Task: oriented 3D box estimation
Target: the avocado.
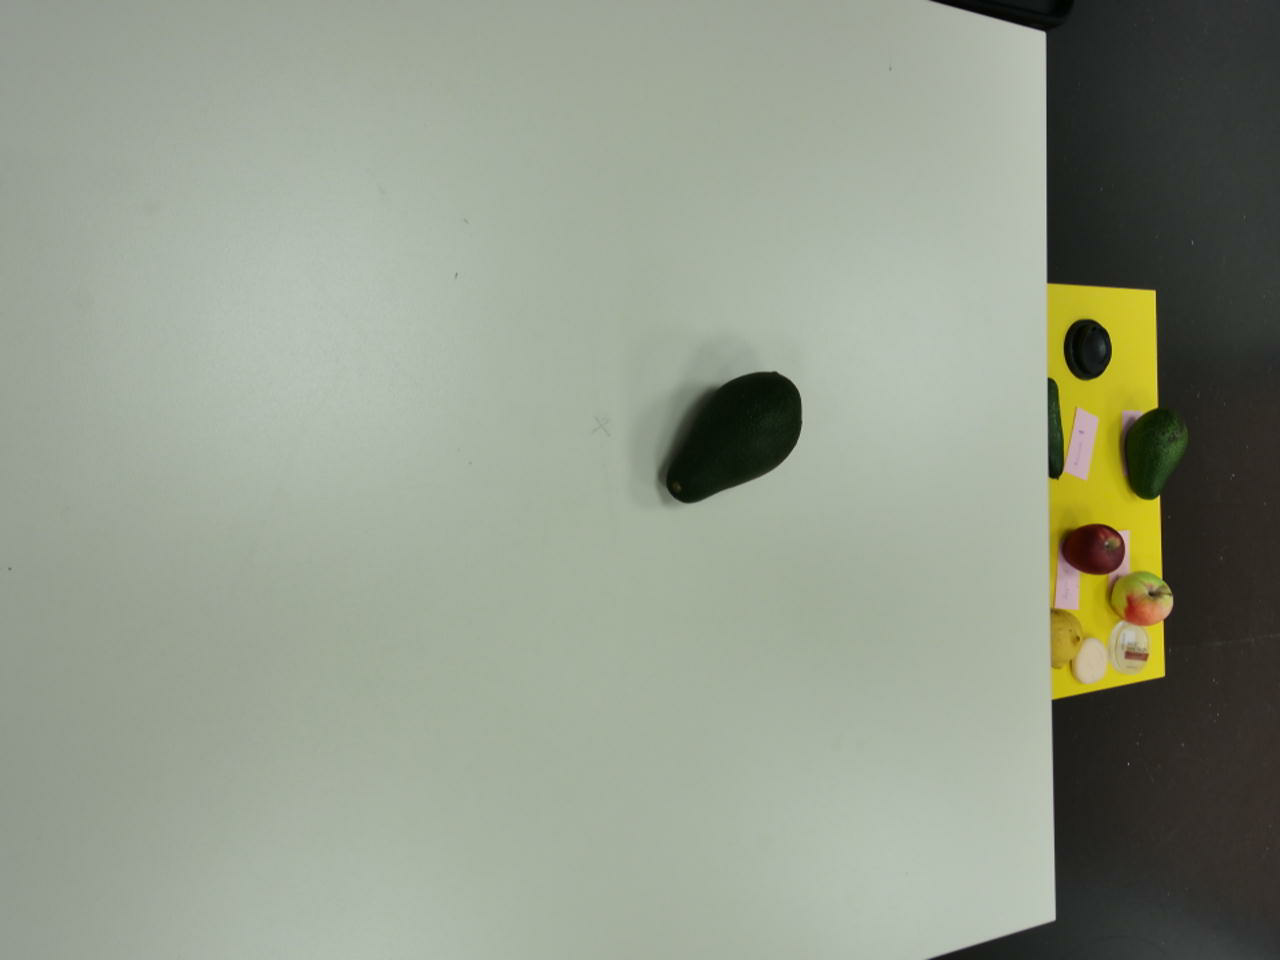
[{"bbox_3d":[0.066,-0.032,0.707,0.109,0.071,0.072,-26,102,-25],"label":"avocado"}]
